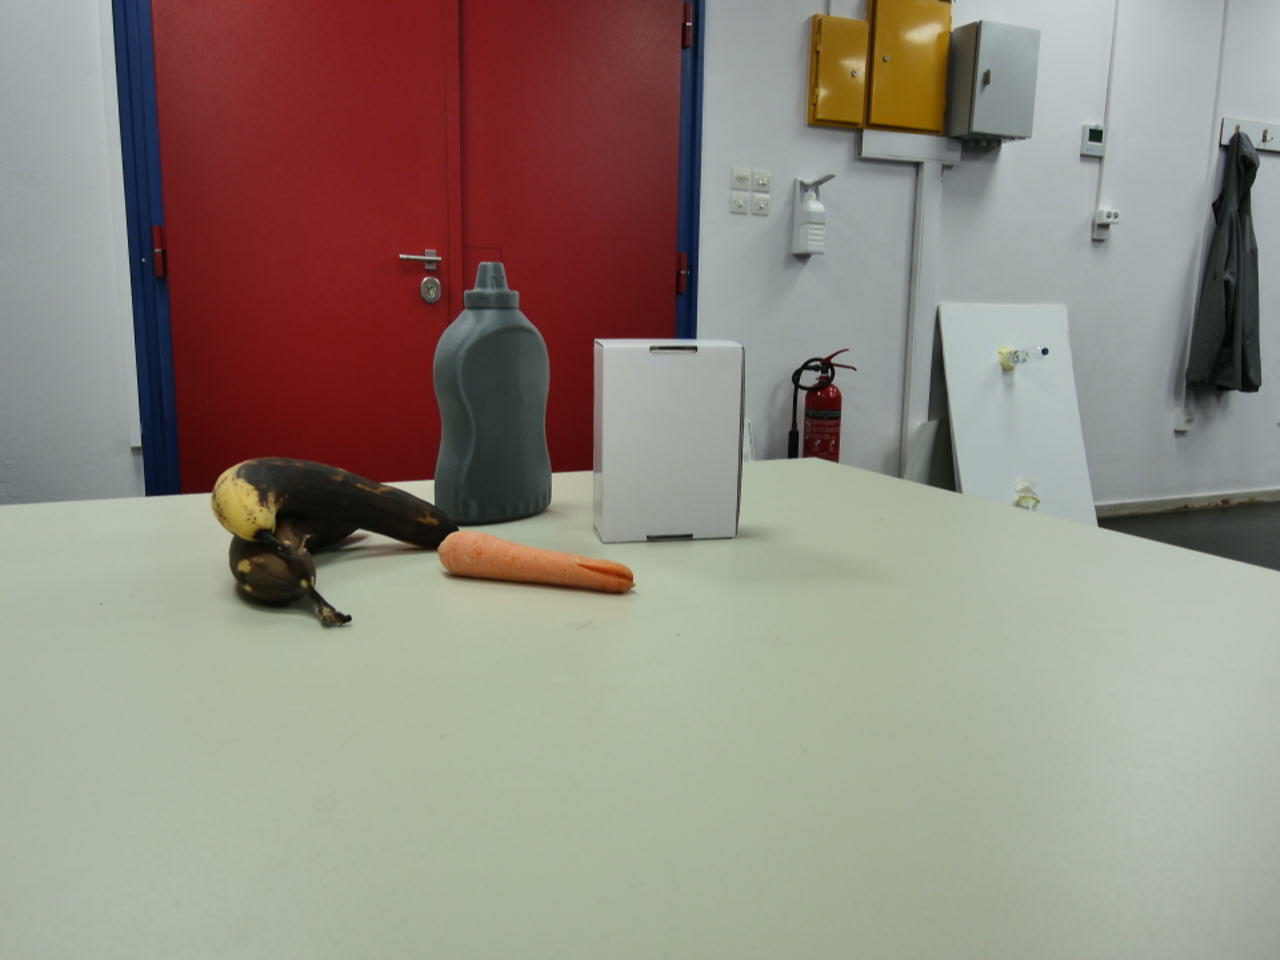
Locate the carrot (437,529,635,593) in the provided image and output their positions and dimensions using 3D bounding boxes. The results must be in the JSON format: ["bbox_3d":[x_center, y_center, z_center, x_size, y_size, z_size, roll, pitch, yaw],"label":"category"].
[{"bbox_3d":[-0.068,0.051,0.632,0.136,0.032,0.030,4,8,21],"label":"carrot"}]
